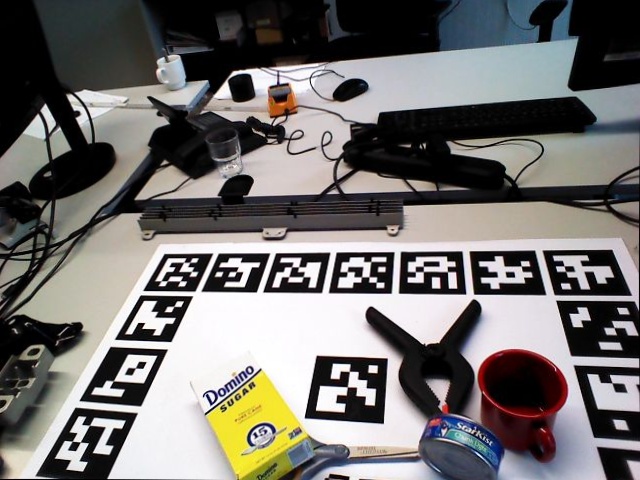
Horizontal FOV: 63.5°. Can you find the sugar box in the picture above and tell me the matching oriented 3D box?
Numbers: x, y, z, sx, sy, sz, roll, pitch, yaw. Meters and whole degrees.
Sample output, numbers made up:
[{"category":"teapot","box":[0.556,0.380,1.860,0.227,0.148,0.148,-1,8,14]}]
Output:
[{"category":"sugar box","box":[-0.090,0.217,0.649,0.092,0.045,0.176,-25,34,-16]}]

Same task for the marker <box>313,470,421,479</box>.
[{"category":"marker","box":[0.052,0.268,0.577,0.121,0.020,0.019,-4,40,11]}]

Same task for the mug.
[{"category":"mug","box":[0.218,0.186,0.586,0.093,0.081,0.117,-19,36,-8]}]

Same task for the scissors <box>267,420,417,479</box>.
[{"category":"scissors","box":[0.013,0.241,0.617,0.203,0.016,0.087,-7,35,4]}]

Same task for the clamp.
[{"category":"clamp","box":[0.149,0.153,0.693,0.166,0.037,0.201,-8,40,5]}]

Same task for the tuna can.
[{"category":"tuna can","box":[0.151,0.218,0.557,0.086,0.086,0.033,11,44,26]}]
